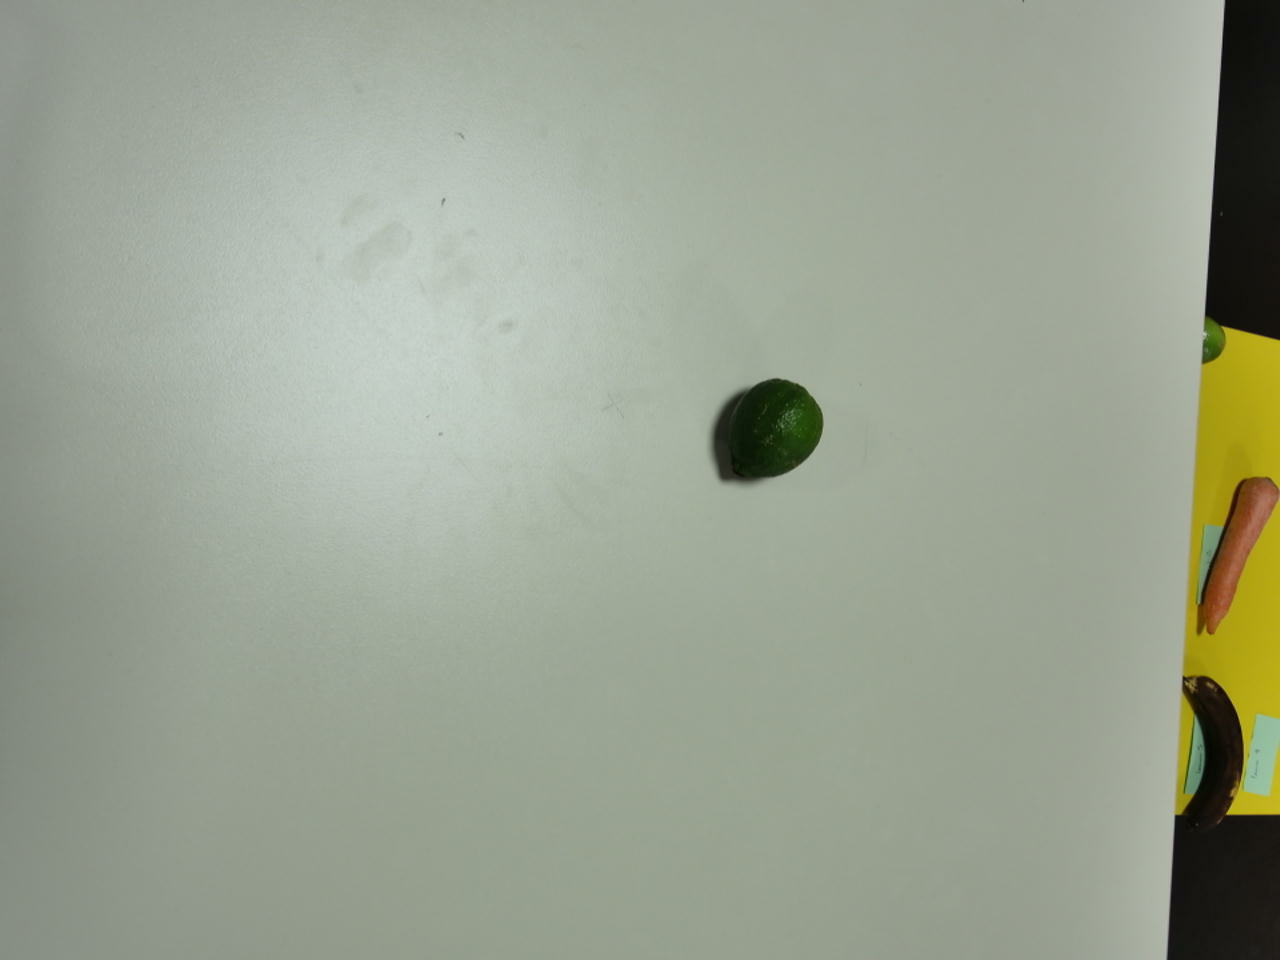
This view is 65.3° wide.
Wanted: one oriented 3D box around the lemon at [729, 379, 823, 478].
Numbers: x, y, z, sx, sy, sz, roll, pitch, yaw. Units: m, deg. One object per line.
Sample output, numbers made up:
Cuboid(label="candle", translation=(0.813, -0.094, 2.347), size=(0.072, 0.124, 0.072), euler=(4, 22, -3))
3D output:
Cuboid(label="lemon", translation=(0.079, -0.030, 0.583), size=(0.054, 0.051, 0.057), euler=(1, 90, -22))
